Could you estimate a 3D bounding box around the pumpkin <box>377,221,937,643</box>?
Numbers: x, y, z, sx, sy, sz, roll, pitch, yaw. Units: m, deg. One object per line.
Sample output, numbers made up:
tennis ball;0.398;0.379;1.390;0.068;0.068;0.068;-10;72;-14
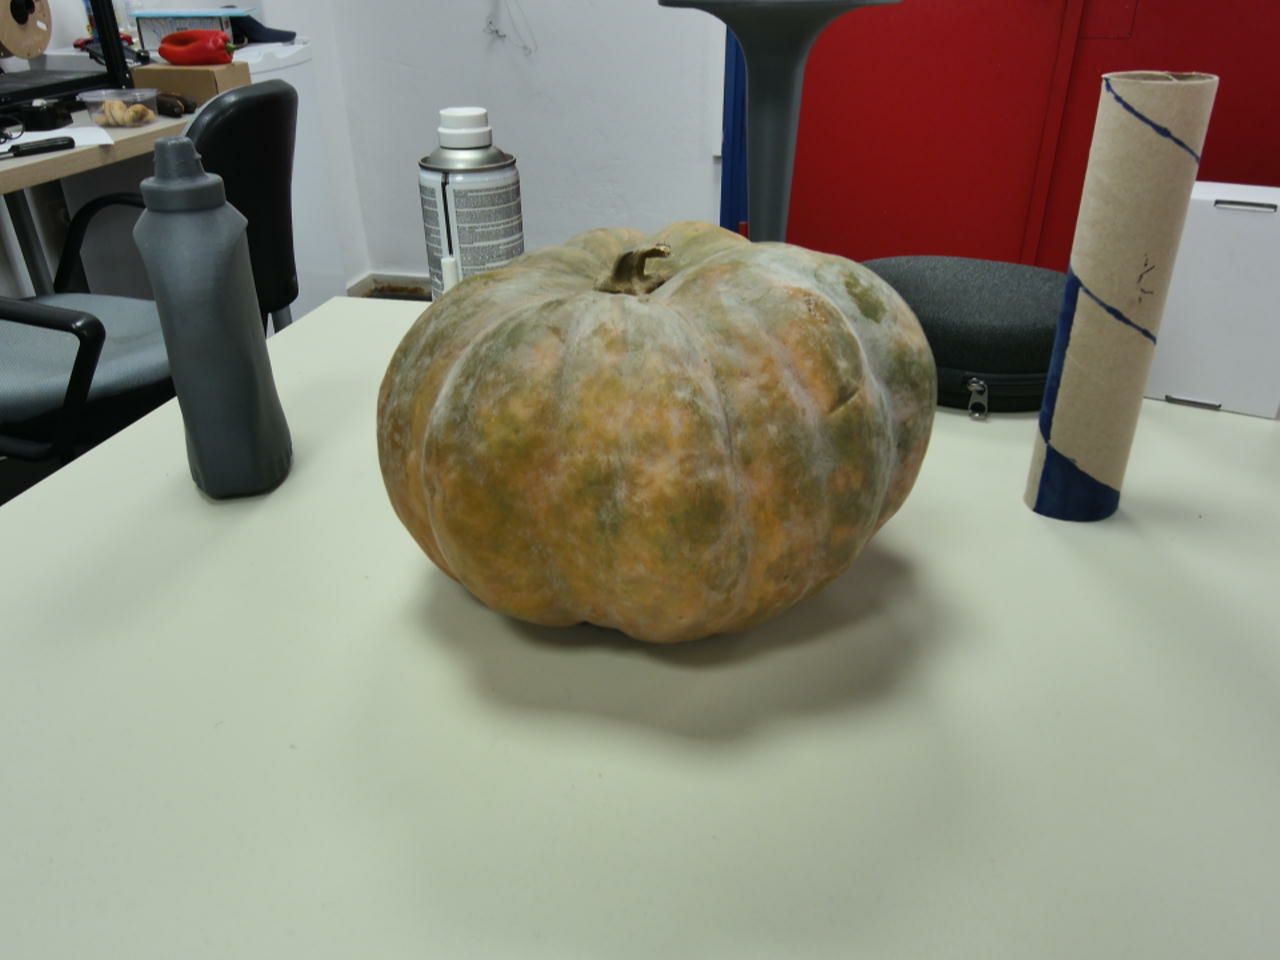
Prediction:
pumpkin;0.001;-0.030;0.469;0.252;0.169;0.251;0;25;0
